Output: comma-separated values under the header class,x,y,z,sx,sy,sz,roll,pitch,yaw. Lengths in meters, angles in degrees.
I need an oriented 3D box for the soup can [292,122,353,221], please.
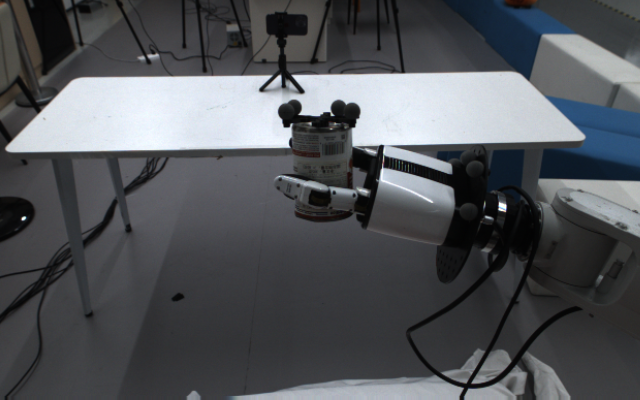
class,x,y,z,sx,sy,sz,roll,pitch,yaw
soup can,0.005,-0.033,0.536,0.067,0.101,0.067,-1,17,0
